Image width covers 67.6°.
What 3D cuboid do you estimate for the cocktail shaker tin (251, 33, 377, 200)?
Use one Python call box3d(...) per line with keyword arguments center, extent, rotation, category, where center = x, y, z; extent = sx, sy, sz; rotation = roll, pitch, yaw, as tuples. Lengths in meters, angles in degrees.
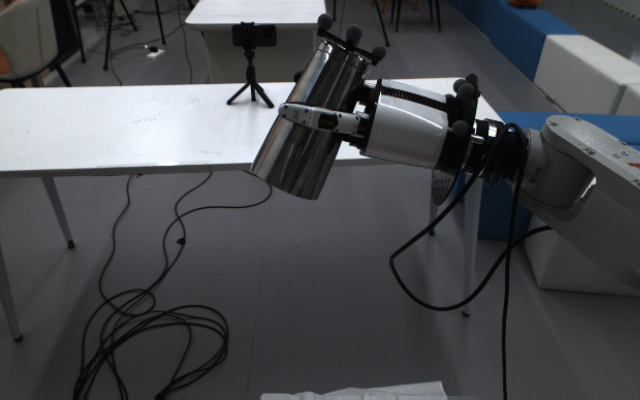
box3d(center=(-0.004, -0.098, 0.578), extent=(0.093, 0.170, 0.093), rotation=(24, 12, -6), category="cocktail shaker tin")
